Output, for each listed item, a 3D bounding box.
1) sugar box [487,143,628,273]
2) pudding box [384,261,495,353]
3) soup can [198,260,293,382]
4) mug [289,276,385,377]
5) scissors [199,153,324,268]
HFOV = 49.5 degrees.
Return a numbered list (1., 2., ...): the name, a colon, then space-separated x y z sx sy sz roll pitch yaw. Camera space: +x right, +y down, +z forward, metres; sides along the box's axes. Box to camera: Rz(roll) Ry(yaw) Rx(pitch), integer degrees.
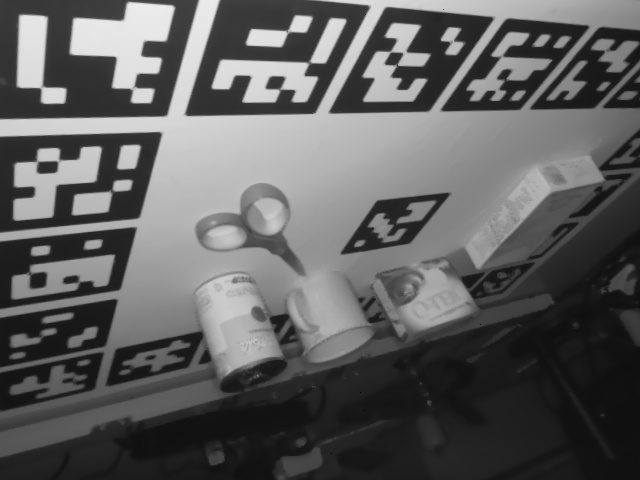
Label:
1. sugar box: 0.280 -0.036 0.834 0.094 0.045 0.174 -11 143 -28
2. pudding box: 0.146 0.080 0.845 0.115 0.090 0.038 -12 140 -22
3. soup can: -0.075 0.079 0.687 0.068 0.102 0.067 -20 150 -11
4. mug: 0.013 0.090 0.775 0.093 0.081 0.117 -29 150 0
5. scissors: -0.038 -0.010 0.651 0.088 0.016 0.203 -39 147 1
